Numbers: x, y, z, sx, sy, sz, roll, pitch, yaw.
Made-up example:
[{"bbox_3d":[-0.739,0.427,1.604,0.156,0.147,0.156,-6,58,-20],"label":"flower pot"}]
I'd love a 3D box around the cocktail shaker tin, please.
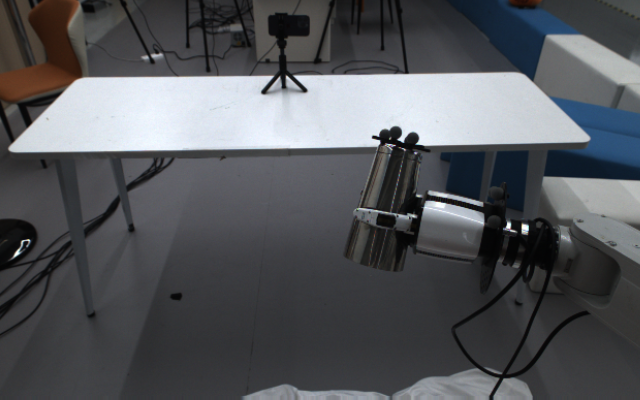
[{"bbox_3d":[0.098,0.009,0.710,0.093,0.170,0.093,13,4,-1],"label":"cocktail shaker tin"}]
